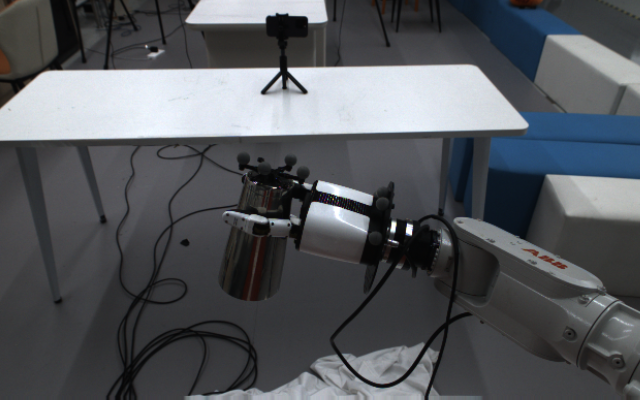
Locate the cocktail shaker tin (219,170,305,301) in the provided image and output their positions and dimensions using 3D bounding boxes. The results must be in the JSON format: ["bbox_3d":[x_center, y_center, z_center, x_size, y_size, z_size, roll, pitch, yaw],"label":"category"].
[{"bbox_3d":[-0.082,0.043,0.681,0.093,0.170,0.093,12,25,-6],"label":"cocktail shaker tin"}]
